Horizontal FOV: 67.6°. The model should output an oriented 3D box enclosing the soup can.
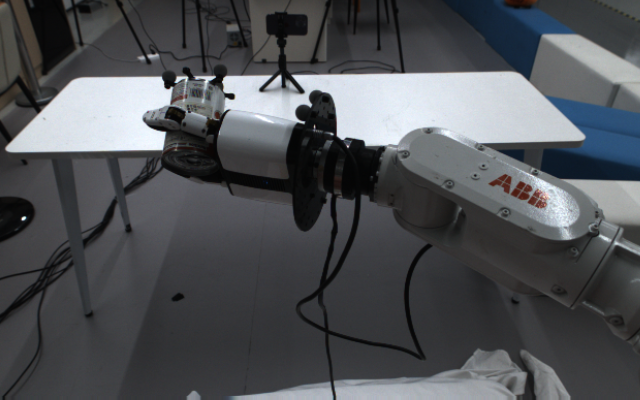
[{"bbox_3d":[-0.153,-0.088,0.593,0.067,0.067,0.101,1,68,-1],"label":"soup can"}]
